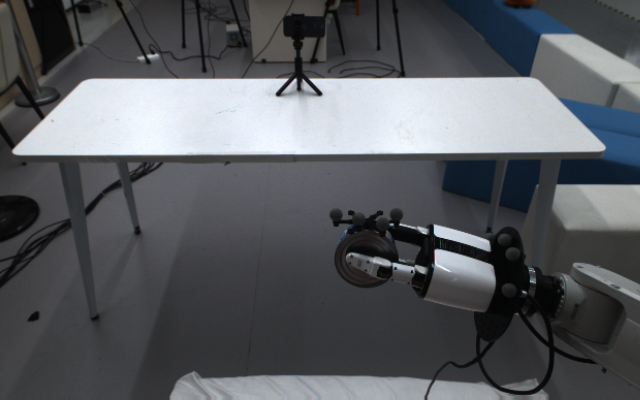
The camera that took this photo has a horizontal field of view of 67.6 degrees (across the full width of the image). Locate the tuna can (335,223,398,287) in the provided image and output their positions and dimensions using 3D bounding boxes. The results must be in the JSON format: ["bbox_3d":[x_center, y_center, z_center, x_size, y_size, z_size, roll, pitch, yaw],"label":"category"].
[{"bbox_3d":[0.065,0.075,0.660,0.085,0.085,0.034,4,17,3],"label":"tuna can"}]
